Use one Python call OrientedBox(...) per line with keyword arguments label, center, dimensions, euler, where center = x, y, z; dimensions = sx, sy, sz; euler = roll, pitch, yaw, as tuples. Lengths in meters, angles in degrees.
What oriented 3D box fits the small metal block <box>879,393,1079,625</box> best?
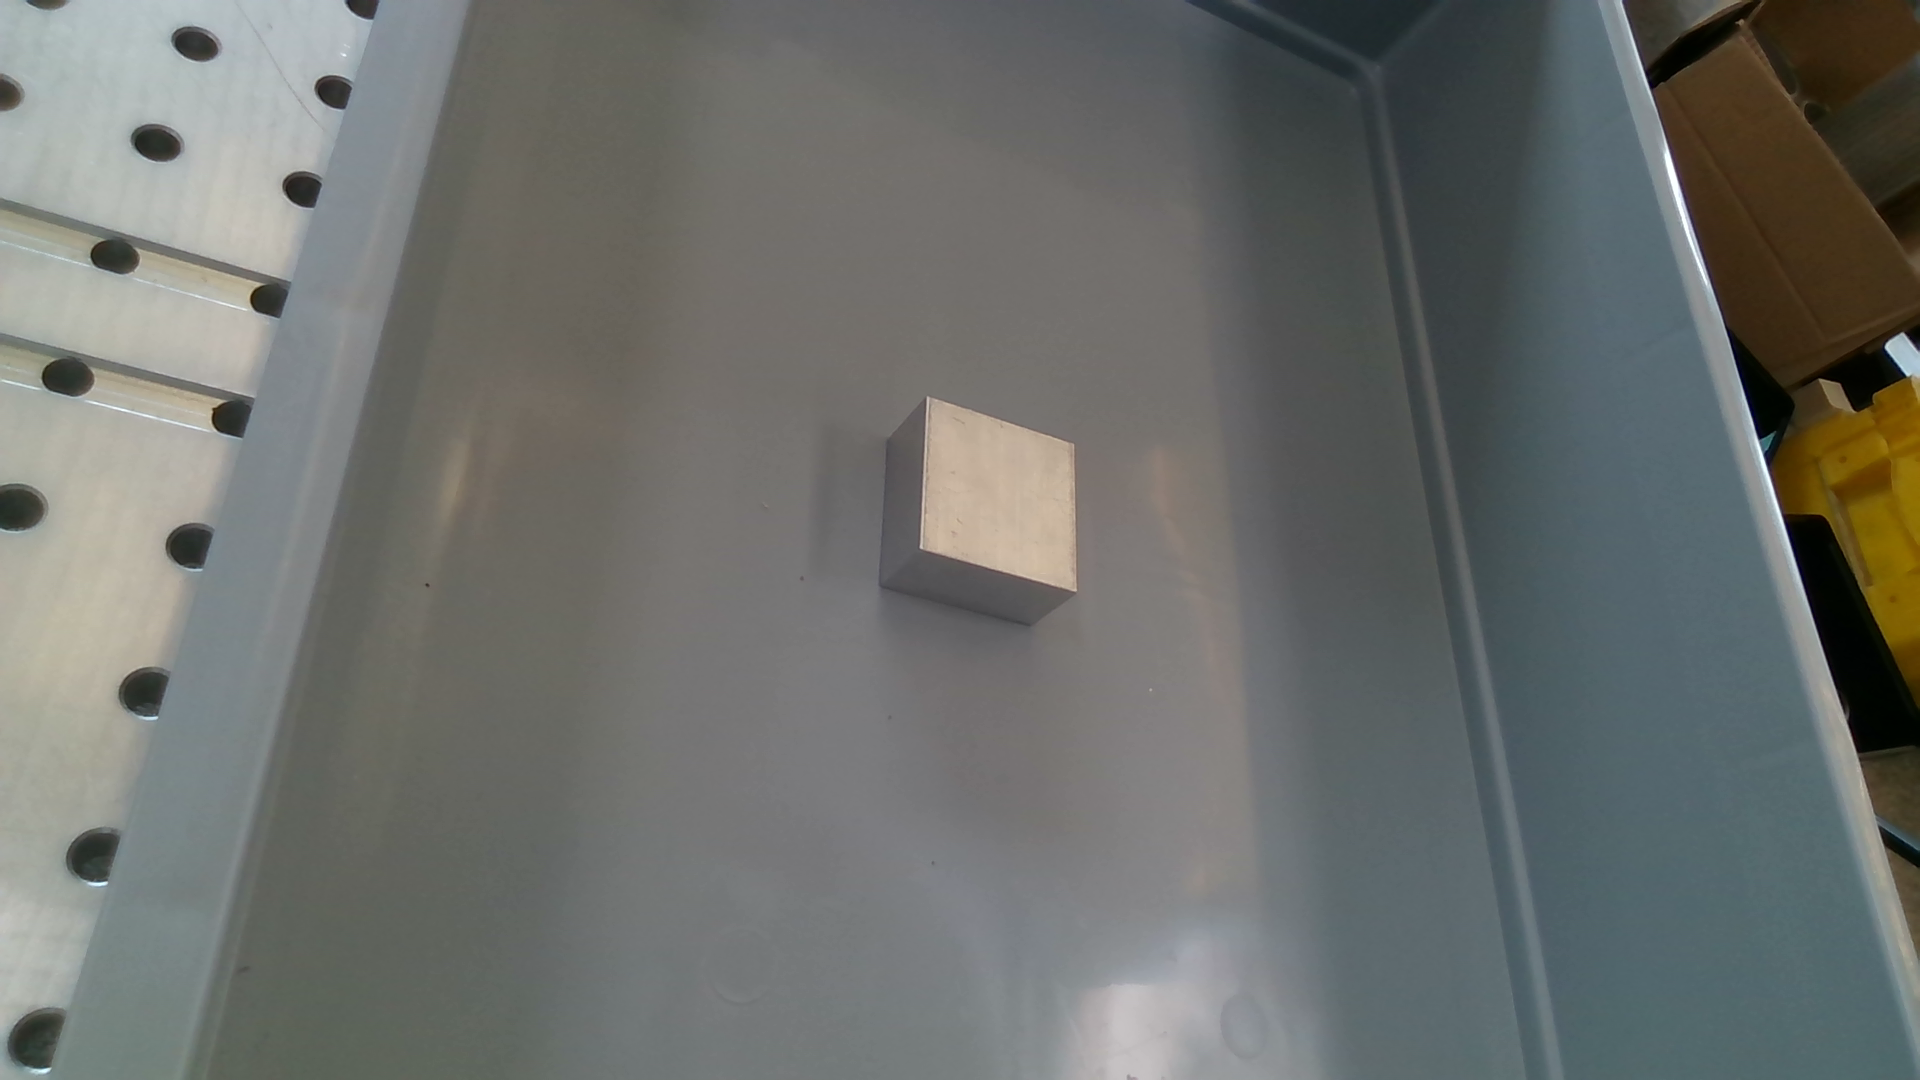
OrientedBox(label="small metal block", center=(0.006, -0.008, 0.397), dimensions=(0.050, 0.025, 0.050), euler=(16, 58, -24))
